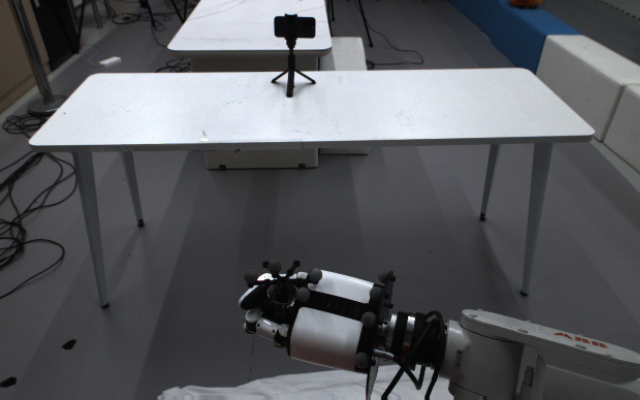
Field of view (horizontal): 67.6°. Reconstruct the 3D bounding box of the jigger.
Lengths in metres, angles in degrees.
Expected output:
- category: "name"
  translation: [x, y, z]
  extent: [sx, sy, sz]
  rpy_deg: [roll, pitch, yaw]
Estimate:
- category: "jigger"
  translation: [-0.046, 0.145, 0.640]
  extent: [0.043, 0.071, 0.043]
  rpy_deg: [4, 31, -2]
